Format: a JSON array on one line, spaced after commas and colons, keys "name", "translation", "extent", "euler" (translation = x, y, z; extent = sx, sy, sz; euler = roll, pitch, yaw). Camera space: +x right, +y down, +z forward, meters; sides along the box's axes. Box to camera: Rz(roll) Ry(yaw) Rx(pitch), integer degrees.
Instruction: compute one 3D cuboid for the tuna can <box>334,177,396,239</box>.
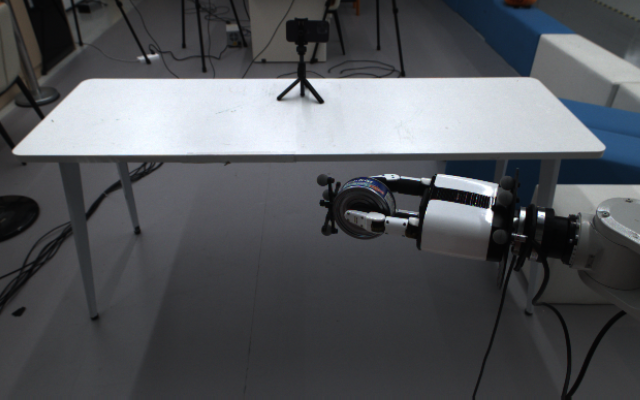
[{"name": "tuna can", "translation": [0.065, 0.014, 0.680], "extent": [0.085, 0.085, 0.034], "euler": [12, 28, 14]}]
